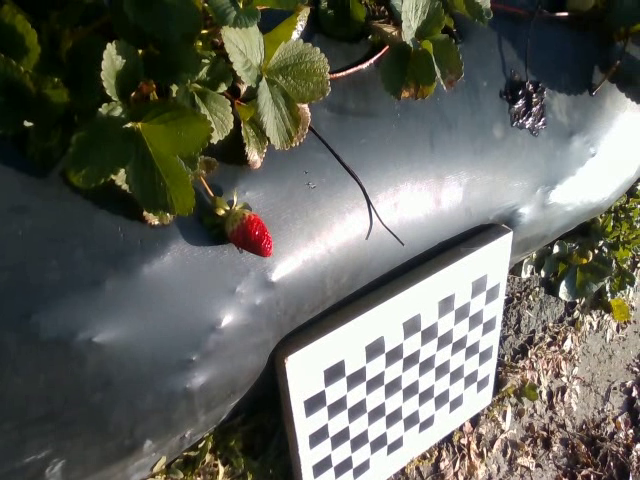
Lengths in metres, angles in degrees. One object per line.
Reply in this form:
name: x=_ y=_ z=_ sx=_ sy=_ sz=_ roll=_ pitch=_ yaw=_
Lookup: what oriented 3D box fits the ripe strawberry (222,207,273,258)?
ripe strawberry: x=-0.042 y=-0.001 z=0.392 sx=0.041 sy=0.028 sz=0.031 roll=44 pitch=-8 yaw=11
